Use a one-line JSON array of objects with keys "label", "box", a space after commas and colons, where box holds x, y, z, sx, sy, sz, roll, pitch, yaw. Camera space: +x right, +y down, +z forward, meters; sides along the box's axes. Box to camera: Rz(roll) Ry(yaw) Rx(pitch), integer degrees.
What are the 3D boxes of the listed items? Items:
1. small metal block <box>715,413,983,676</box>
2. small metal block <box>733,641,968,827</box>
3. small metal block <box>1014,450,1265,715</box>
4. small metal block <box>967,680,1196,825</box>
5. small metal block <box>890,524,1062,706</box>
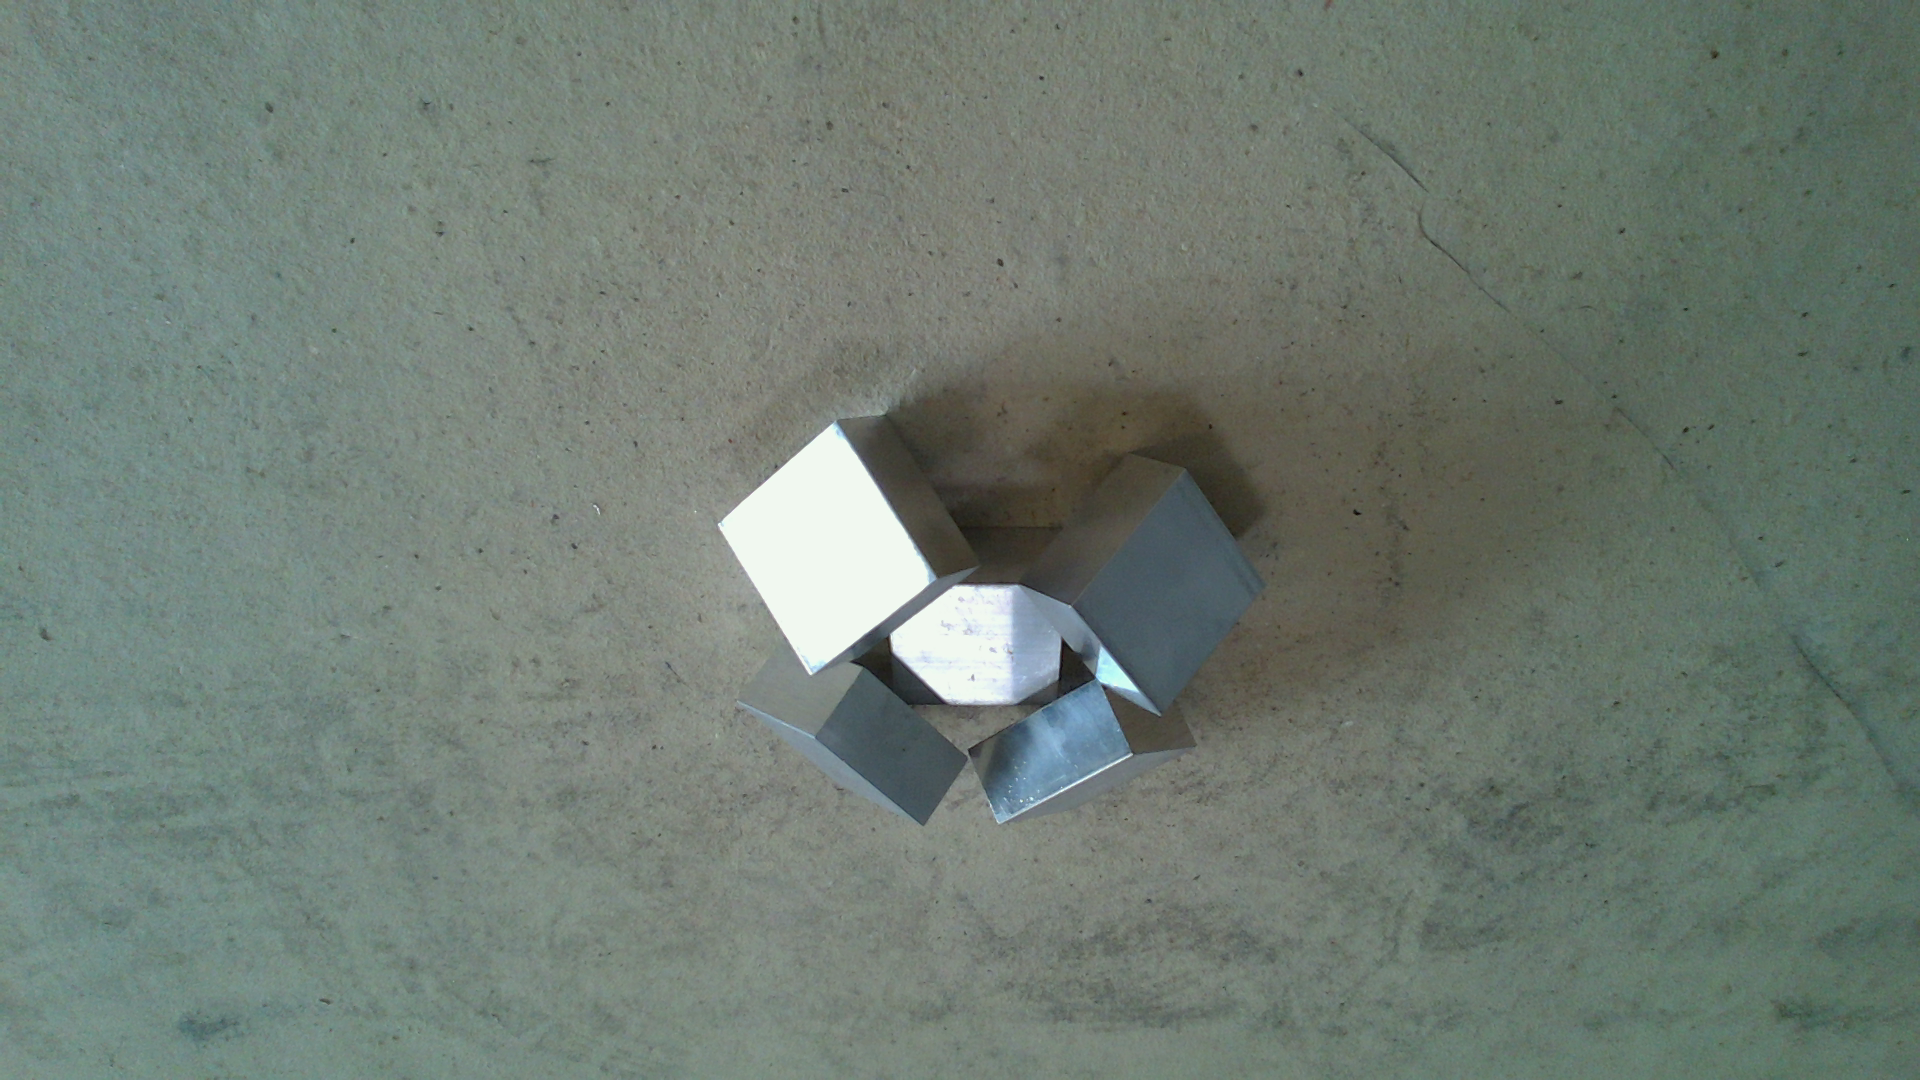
[{"label": "small metal block", "box": [-0.031, 0.001, 0.375, 0.050, 0.025, 0.050, -38, 79, 27]}, {"label": "small metal block", "box": [-0.034, 0.058, 0.423, 0.050, 0.025, 0.050, 45, 161, -31]}, {"label": "small metal block", "box": [0.051, 0.012, 0.385, 0.050, 0.025, 0.050, -50, 124, -13]}, {"label": "small metal block", "box": [0.038, 0.065, 0.430, 0.050, 0.025, 0.050, -33, 161, 25]}, {"label": "small metal block", "box": [0.004, 0.023, 0.411, 0.050, 0.025, 0.050, -1, 130, -1]}]
